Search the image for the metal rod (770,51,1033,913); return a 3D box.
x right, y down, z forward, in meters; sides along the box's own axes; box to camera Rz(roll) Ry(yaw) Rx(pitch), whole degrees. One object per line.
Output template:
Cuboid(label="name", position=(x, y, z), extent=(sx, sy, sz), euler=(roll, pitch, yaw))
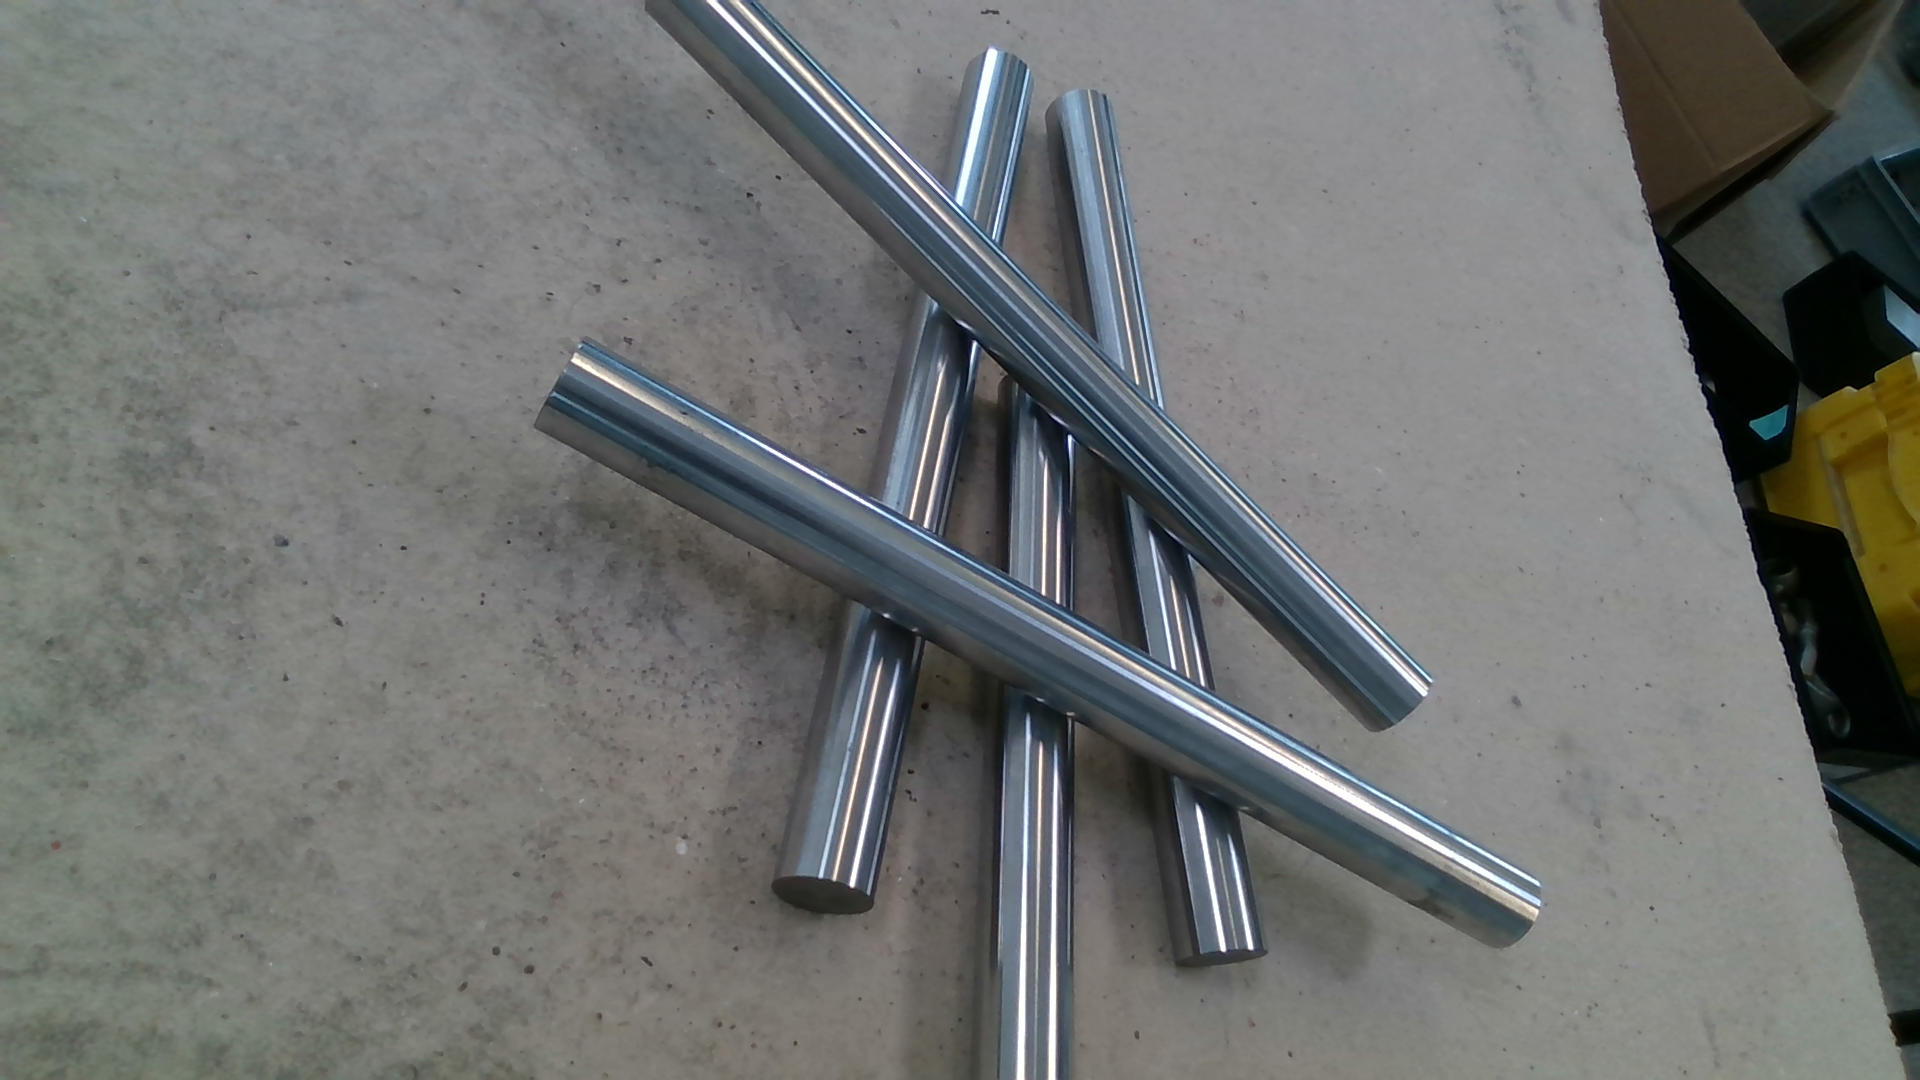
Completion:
Cuboid(label="metal rod", position=(-0.010, -0.039, 0.408), extent=(0.025, 0.025, 0.299), euler=(24, 55, -19))

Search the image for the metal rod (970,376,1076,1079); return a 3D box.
Cuboid(label="metal rod", position=(0.017, 0.082, 0.360), extent=(0.025, 0.025, 0.299), euler=(17, 58, -23))

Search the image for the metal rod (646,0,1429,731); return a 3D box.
Cuboid(label="metal rod", position=(0.025, -0.056, 0.407), extent=(0.300, 0.025, 0.025), euler=(44, 51, -4))

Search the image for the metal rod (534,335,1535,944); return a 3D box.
Cuboid(label="metal rod", position=(0.032, 0.034, 0.363), extent=(0.300, 0.025, 0.025), euler=(30, 53, -15))

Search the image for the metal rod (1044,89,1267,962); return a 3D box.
Cuboid(label="metal rod", position=(0.057, -0.021, 0.440), extent=(0.025, 0.025, 0.299), euler=(8, 61, -28))
